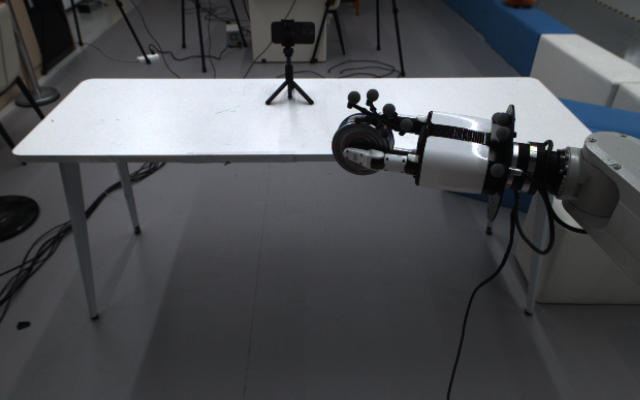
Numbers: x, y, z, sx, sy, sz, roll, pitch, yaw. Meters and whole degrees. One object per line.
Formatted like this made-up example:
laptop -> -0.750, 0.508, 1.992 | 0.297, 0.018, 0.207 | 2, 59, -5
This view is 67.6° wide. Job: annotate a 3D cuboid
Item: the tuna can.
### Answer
tuna can -> 0.064, -0.072, 0.689 | 0.085, 0.085, 0.034 | 12, 35, 14
